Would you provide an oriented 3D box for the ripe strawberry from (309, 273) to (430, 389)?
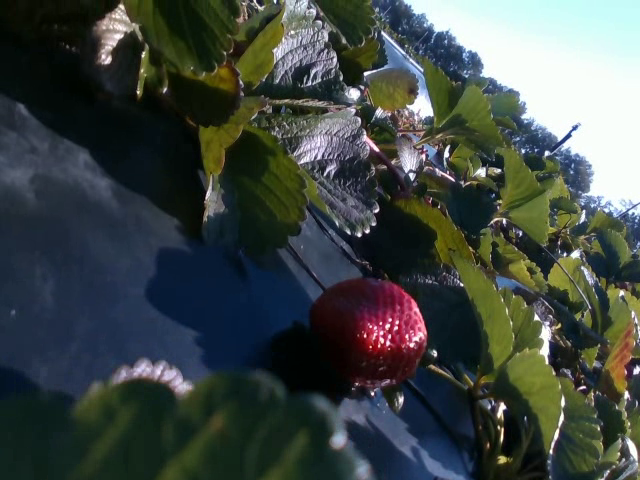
[{"bbox_3d":[0.013,0.030,0.192,0.044,0.042,0.055,1,-9,20],"label":"ripe strawberry"}]
